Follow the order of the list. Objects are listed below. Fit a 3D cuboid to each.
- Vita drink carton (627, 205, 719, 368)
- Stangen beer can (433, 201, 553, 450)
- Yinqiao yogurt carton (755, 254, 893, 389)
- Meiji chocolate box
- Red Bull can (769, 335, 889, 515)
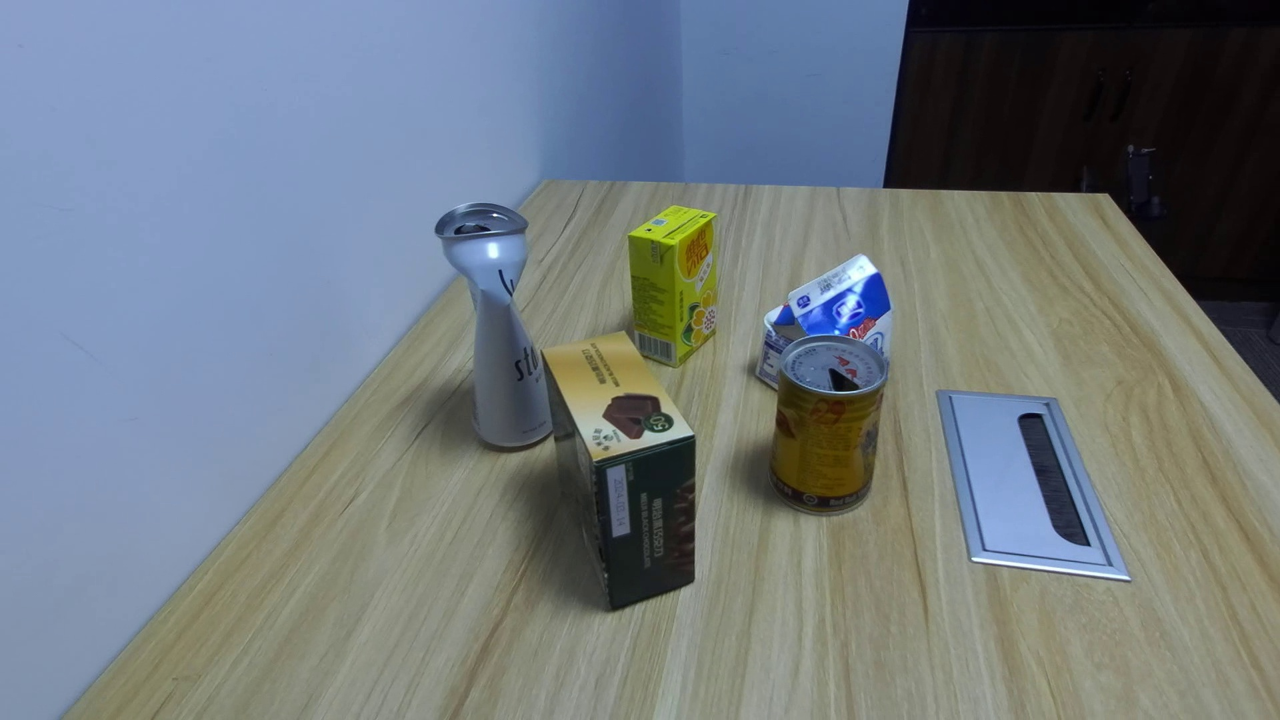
[{"bbox_3d":[0.028,-0.059,0.561,0.043,0.109,0.067,19,41,30],"label":"Vita drink carton"},{"bbox_3d":[-0.093,-0.018,0.476,0.077,0.162,0.066,18,41,27],"label":"Stangen beer can"},{"bbox_3d":[0.139,-0.025,0.517,0.083,0.093,0.077,-24,38,-29],"label":"Yinqiao yogurt carton"},{"bbox_3d":[-0.013,0.059,0.399,0.056,0.109,0.109,-14,36,-15],"label":"Meiji chocolate box"},{"bbox_3d":[0.113,0.039,0.427,0.069,0.092,0.069,-3,35,3],"label":"Red Bull can"}]
